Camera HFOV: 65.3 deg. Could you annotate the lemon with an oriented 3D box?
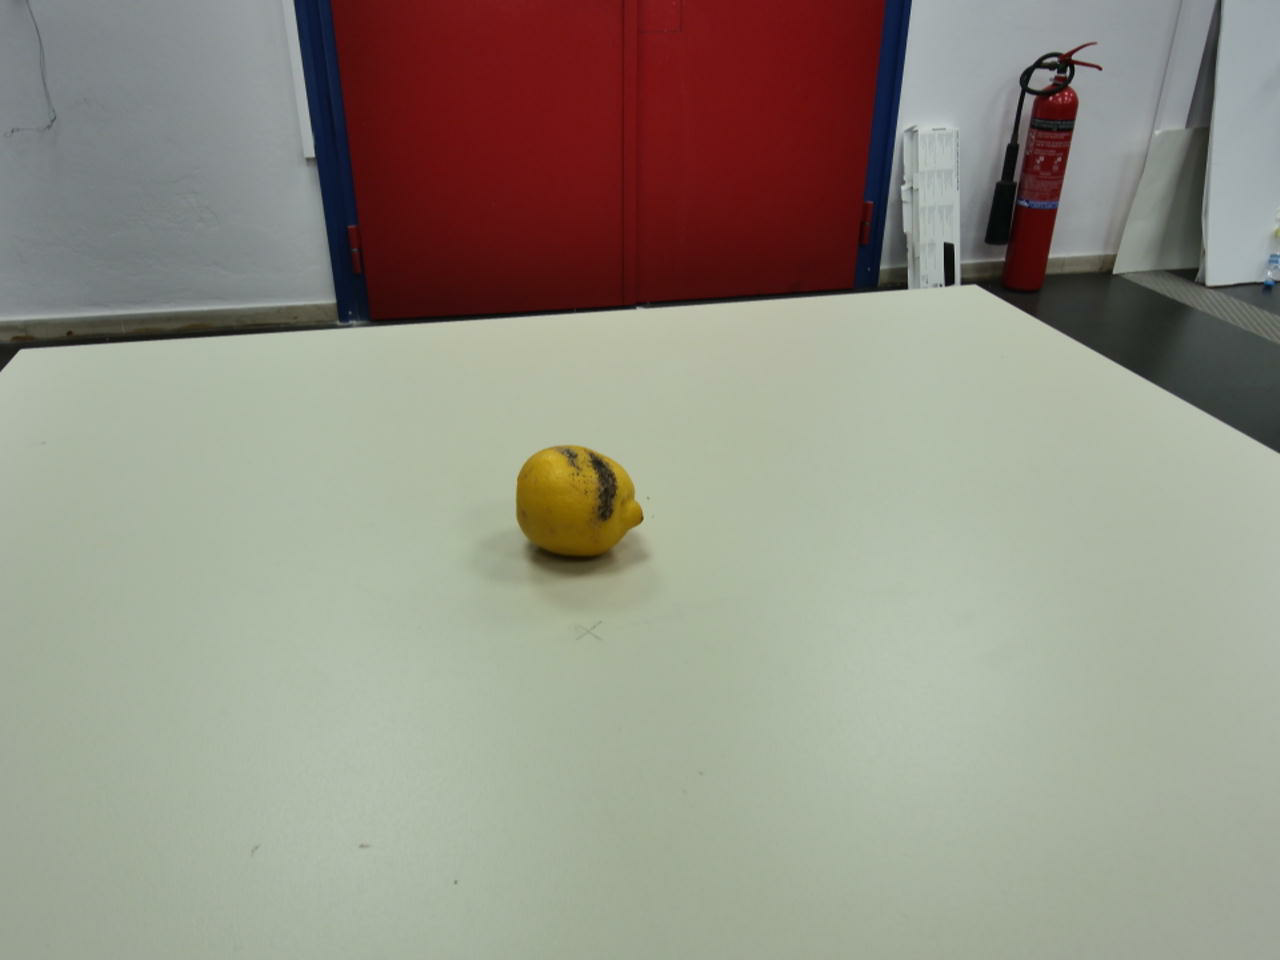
[{"bbox_3d":[-0.033,0.011,0.511,0.061,0.056,0.058,-10,27,-19],"label":"lemon"}]
